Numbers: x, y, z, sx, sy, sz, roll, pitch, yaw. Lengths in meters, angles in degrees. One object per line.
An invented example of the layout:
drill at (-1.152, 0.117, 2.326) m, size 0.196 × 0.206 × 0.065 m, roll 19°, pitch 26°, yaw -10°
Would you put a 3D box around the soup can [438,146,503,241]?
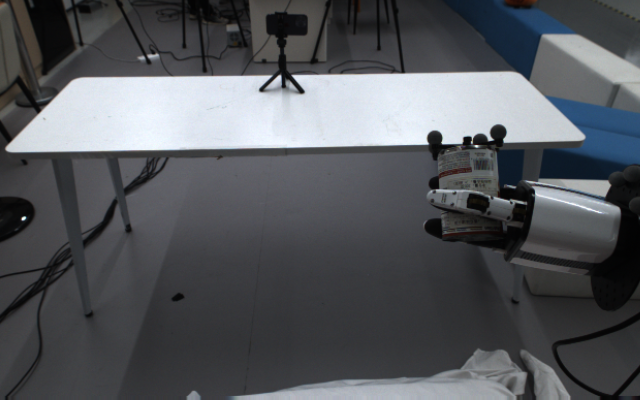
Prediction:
soup can at (0.173, -0.005, 0.553) m, size 0.067 × 0.101 × 0.067 m, roll -1°, pitch -9°, yaw 0°
